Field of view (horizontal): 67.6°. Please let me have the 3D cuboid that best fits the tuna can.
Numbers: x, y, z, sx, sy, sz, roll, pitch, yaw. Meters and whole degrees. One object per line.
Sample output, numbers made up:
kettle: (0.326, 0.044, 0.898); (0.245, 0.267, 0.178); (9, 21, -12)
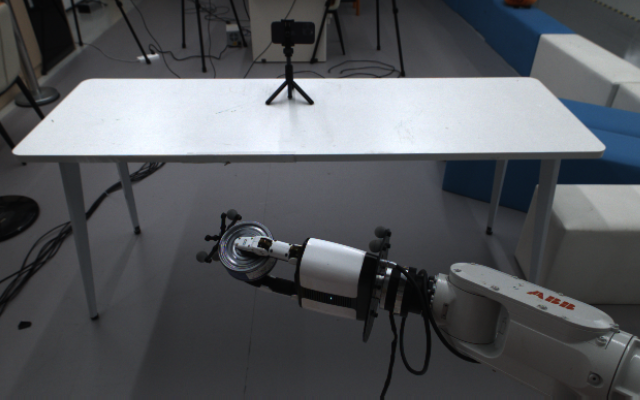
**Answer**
tuna can: (-0.104, 0.074, 0.718); (0.085, 0.034, 0.085); (-3, 59, 5)
